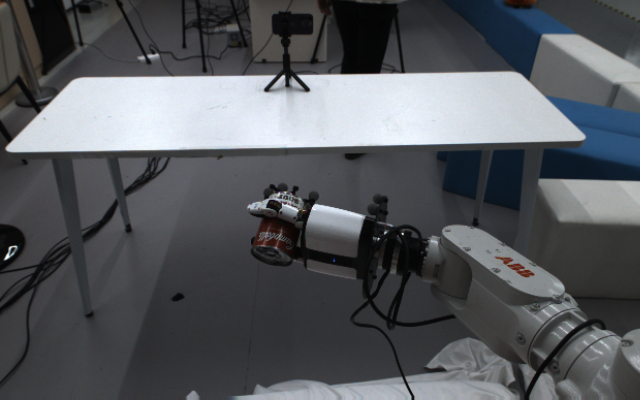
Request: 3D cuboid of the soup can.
[{"bbox_3d":[-0.063,0.045,0.766,0.067,0.067,0.101,9,58,10],"label":"soup can"}]
